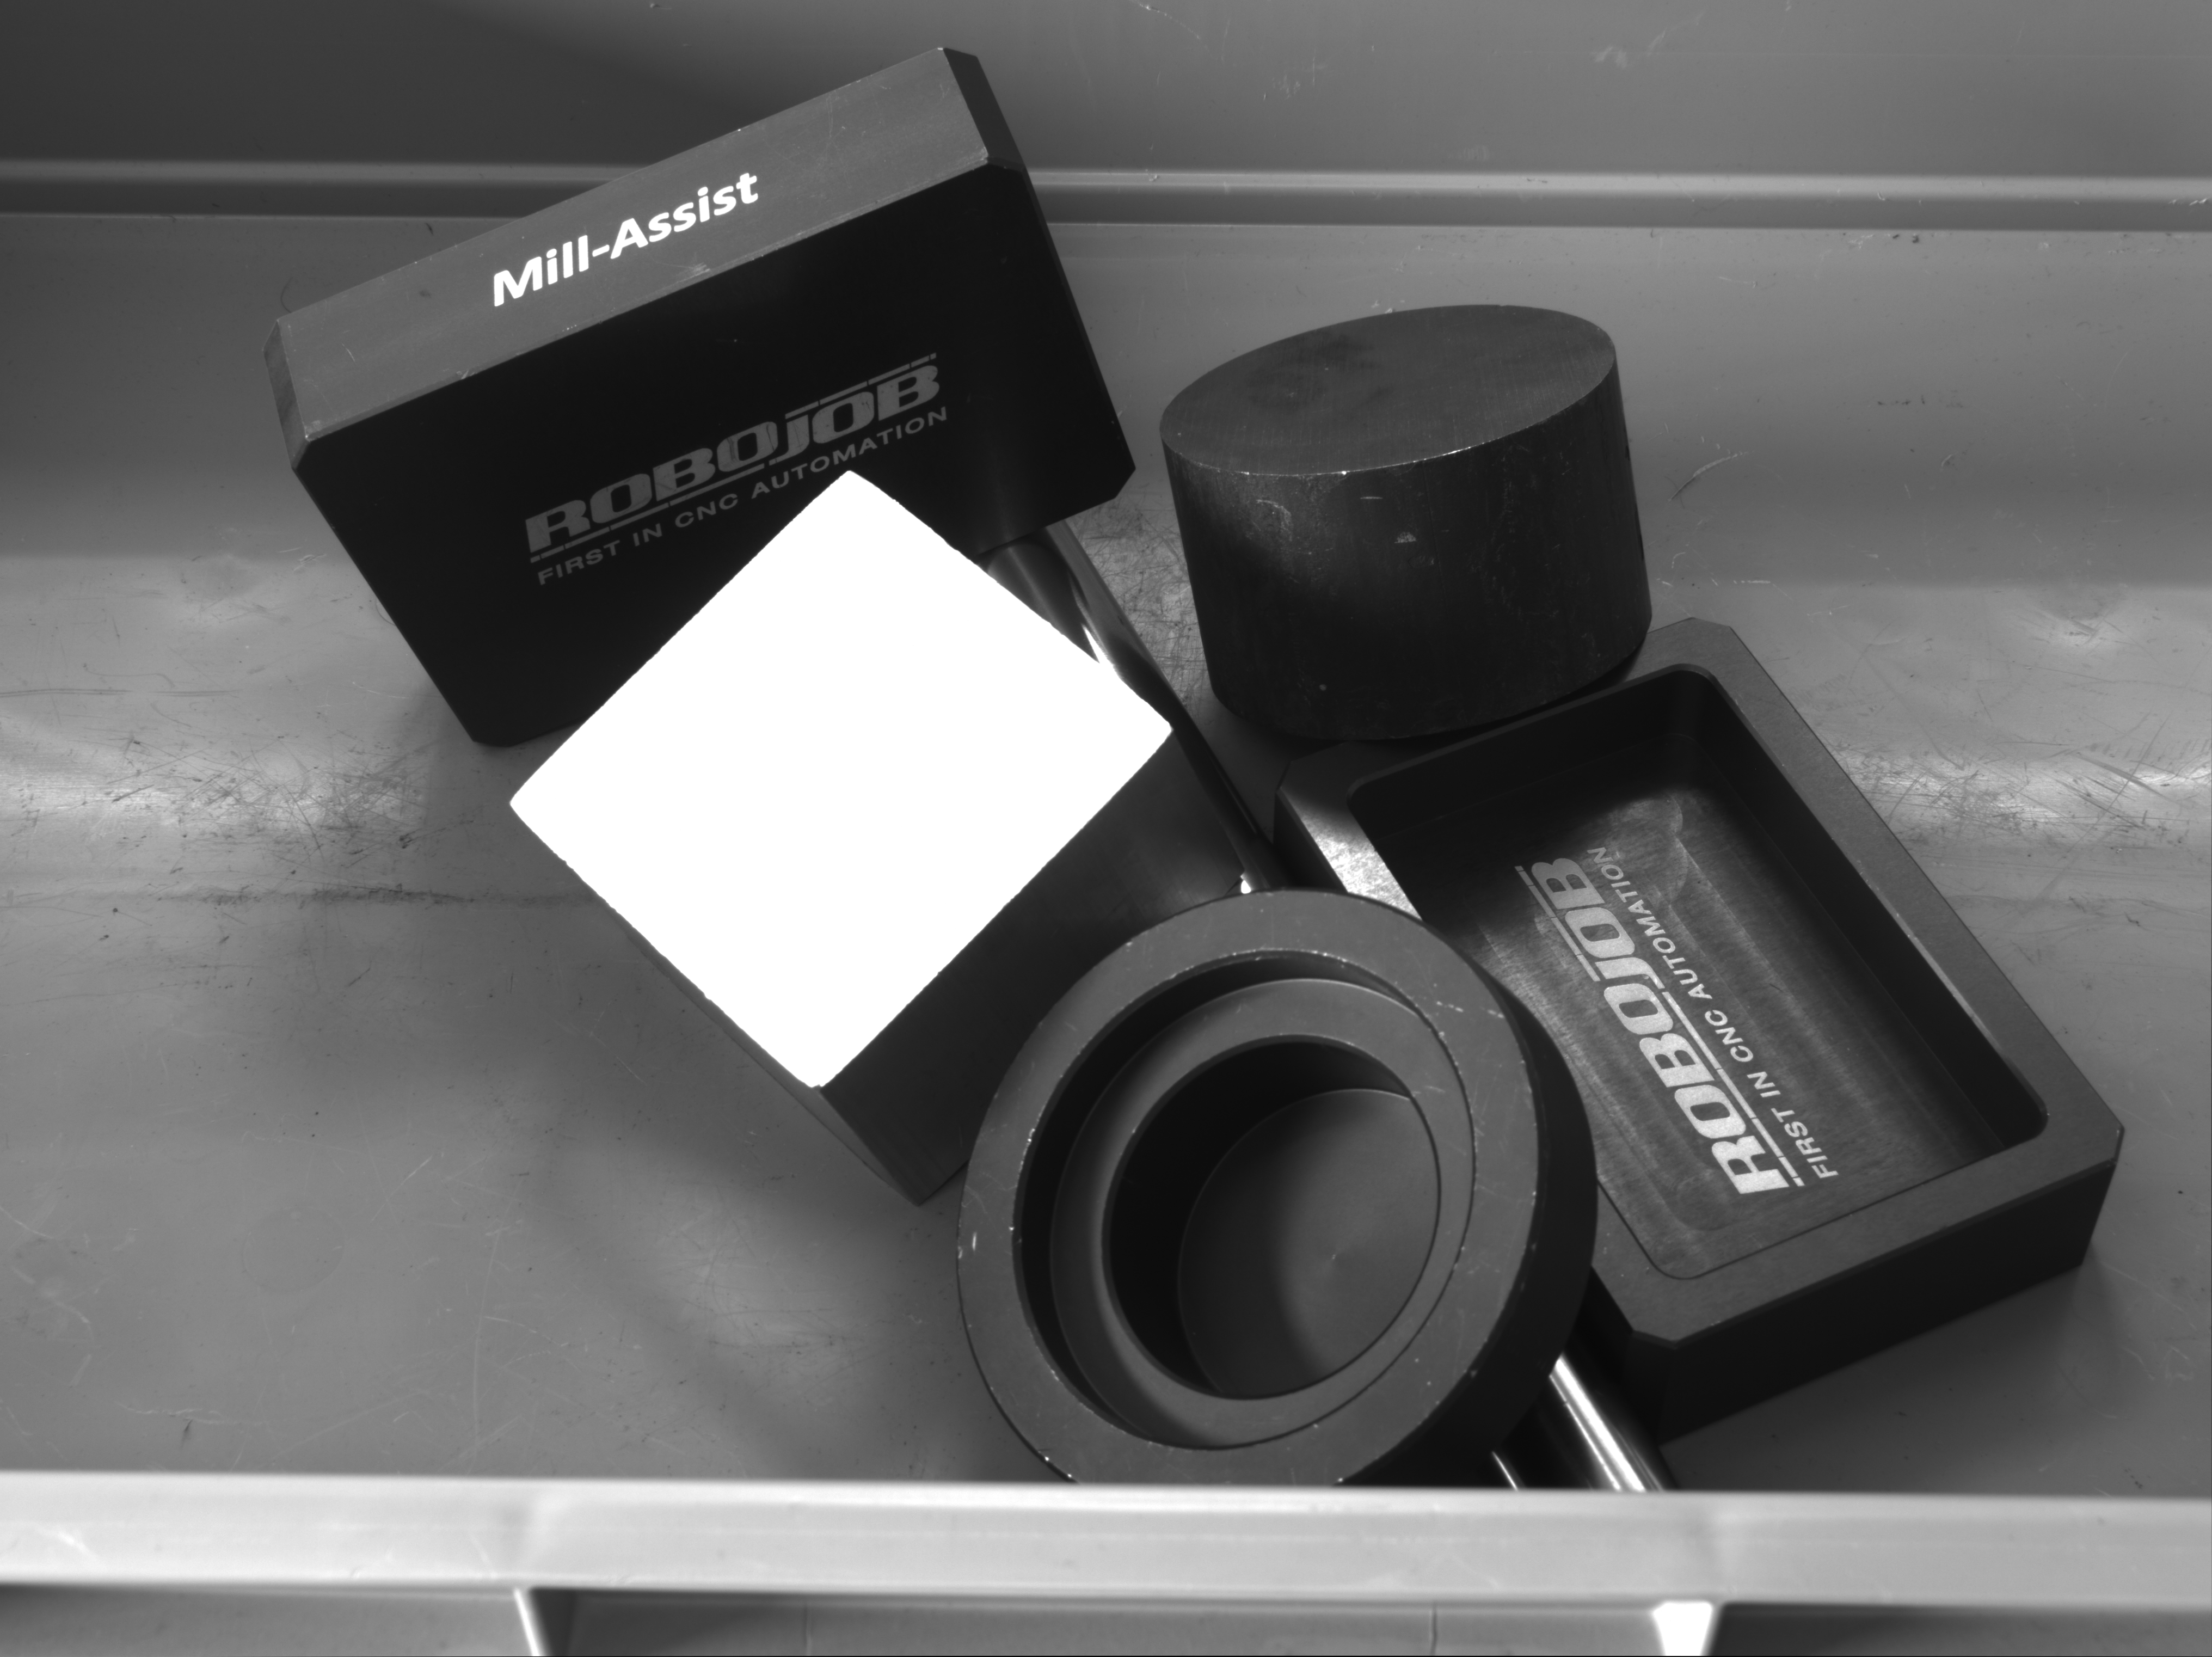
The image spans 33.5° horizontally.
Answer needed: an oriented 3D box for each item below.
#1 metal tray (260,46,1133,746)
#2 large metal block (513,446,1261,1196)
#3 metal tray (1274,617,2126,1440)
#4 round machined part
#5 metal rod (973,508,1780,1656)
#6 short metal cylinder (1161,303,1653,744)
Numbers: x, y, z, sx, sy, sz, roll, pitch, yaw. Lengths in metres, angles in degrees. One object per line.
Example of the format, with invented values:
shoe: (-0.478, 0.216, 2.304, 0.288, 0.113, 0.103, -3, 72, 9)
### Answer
metal tray: (-0.069, -0.073, 0.641, 0.130, 0.090, 0.030, -22, 54, 0)
large metal block: (-0.035, -0.002, 0.602, 0.080, 0.050, 0.080, -44, 61, -10)
metal tray: (0.095, 0.029, 0.613, 0.090, 0.030, 0.130, -20, 53, -16)
round machined part: (0.029, 0.062, 0.559, 0.098, 0.042, 0.098, -13, 62, 26)
metal rod: (0.025, 0.020, 0.623, 0.025, 0.025, 0.299, -20, 53, -16)
short metal cylinder: (0.054, -0.055, 0.652, 0.080, 0.050, 0.080, -10, 25, 5)
